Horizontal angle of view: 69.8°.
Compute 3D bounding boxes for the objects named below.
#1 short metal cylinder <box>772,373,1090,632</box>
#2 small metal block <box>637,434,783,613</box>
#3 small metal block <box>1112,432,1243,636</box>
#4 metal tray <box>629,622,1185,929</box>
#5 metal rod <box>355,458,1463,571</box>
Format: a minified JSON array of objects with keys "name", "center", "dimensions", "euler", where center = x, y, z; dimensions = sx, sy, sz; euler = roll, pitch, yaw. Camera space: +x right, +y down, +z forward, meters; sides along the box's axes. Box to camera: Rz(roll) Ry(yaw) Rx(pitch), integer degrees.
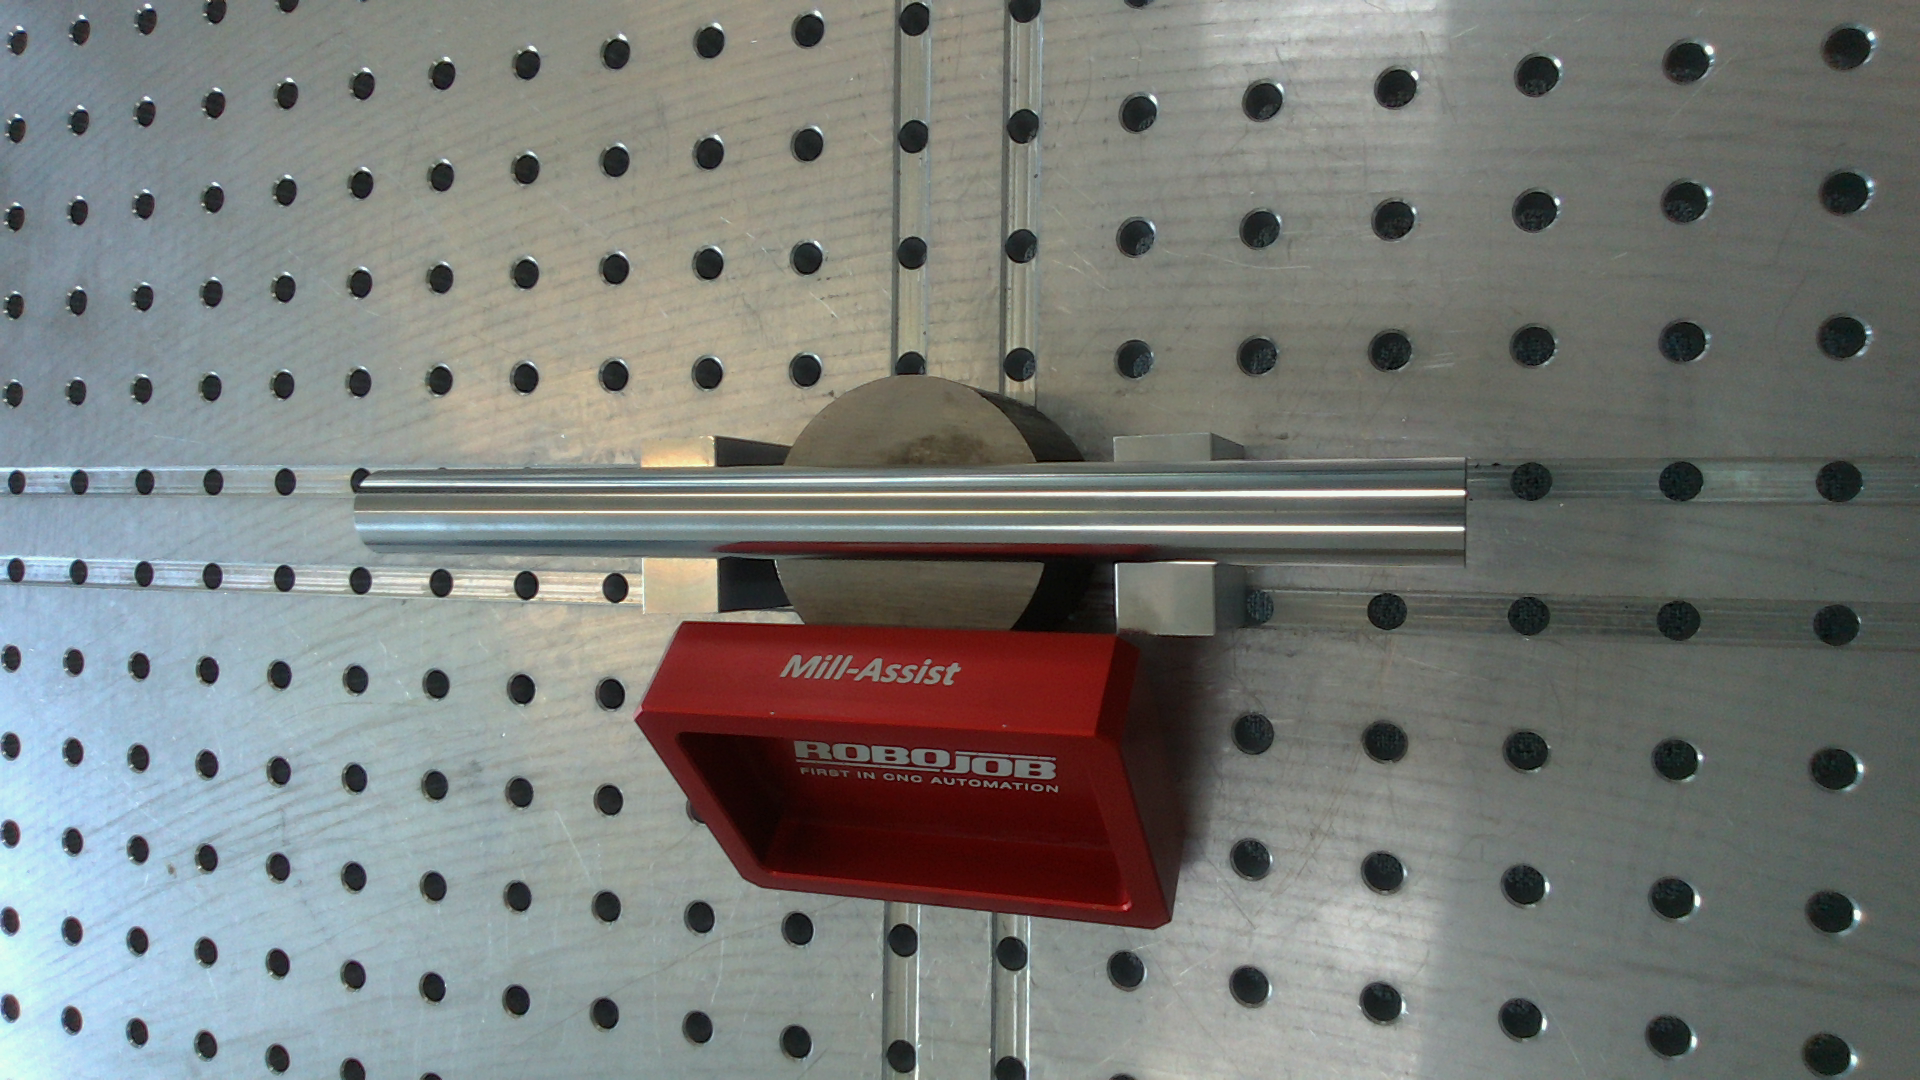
[{"name":"short metal cylinder","center":[-0.006,-0.004,0.387],"dimensions":[0.080,0.050,0.080],"euler":[0,90,20]},{"name":"small metal block","center":[-0.071,-0.004,0.411],"dimensions":[0.025,0.050,0.050],"euler":[-1,90,20]},{"name":"small metal block","center":[0.059,-0.001,0.364],"dimensions":[0.025,0.050,0.050],"euler":[-1,90,20]},{"name":"metal tray","center":[-0.011,0.063,0.370],"dimensions":[0.130,0.090,0.030],"euler":[0,47,20]},{"name":"metal rod","center":[-0.029,-0.008,0.355],"dimensions":[0.299,0.025,0.025],"euler":[1,90,20]}]
